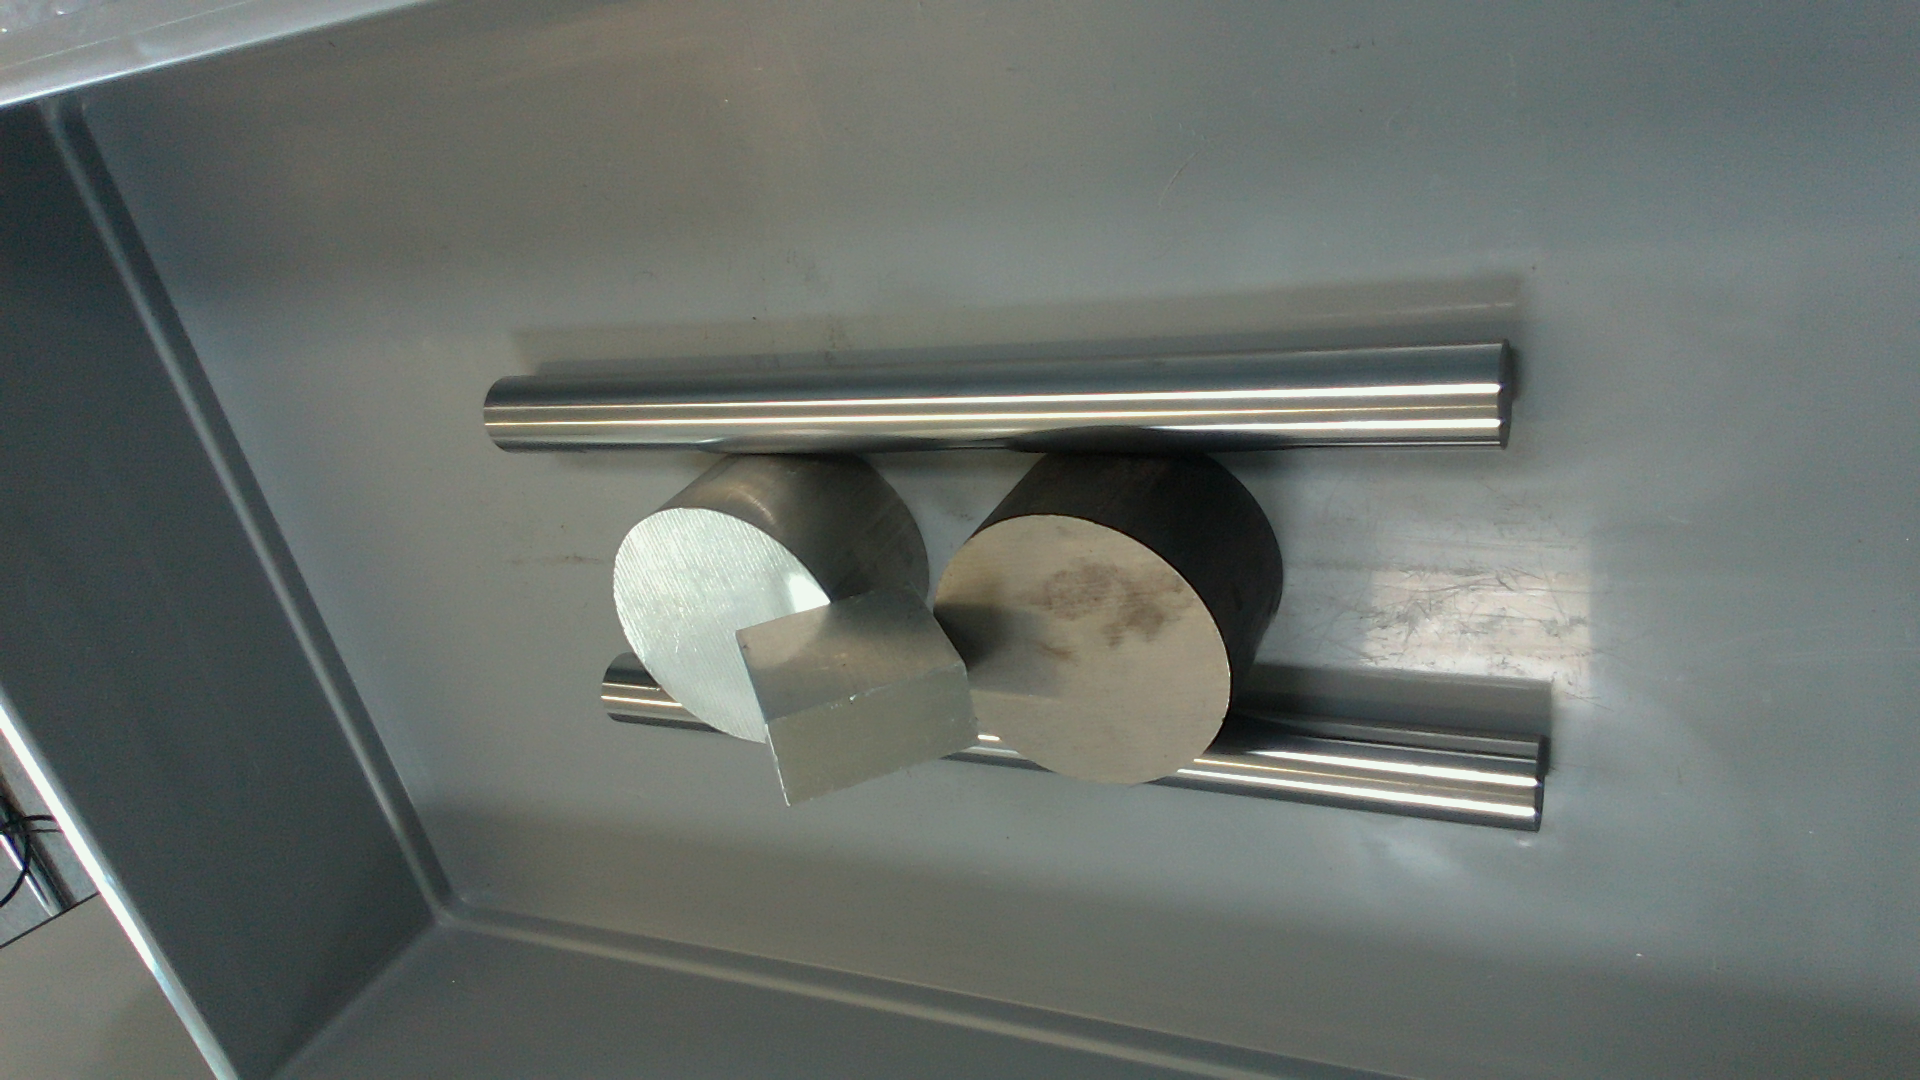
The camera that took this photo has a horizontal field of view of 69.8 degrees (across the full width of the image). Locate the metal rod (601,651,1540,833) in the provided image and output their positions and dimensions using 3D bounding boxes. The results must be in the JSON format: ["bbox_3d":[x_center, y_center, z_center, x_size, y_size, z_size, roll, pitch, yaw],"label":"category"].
[{"bbox_3d":[0.014,0.057,0.419,0.299,0.025,0.025,2,120,27],"label":"metal rod"}]

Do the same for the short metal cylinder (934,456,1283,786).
[{"bbox_3d":[0.040,0.018,0.365,0.080,0.050,0.080,13,124,21],"label":"short metal cylinder"}]

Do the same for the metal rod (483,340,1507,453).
[{"bbox_3d":[-0.011,-0.036,0.375,0.299,0.025,0.025,2,119,27],"label":"metal rod"}]

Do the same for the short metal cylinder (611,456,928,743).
[{"bbox_3d":[-0.057,0.014,0.415,0.080,0.050,0.080,13,124,21],"label":"short metal cylinder"}]

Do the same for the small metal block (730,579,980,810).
[{"bbox_3d":[-0.028,0.038,0.354,0.050,0.050,0.025,-16,116,-12],"label":"small metal block"}]
